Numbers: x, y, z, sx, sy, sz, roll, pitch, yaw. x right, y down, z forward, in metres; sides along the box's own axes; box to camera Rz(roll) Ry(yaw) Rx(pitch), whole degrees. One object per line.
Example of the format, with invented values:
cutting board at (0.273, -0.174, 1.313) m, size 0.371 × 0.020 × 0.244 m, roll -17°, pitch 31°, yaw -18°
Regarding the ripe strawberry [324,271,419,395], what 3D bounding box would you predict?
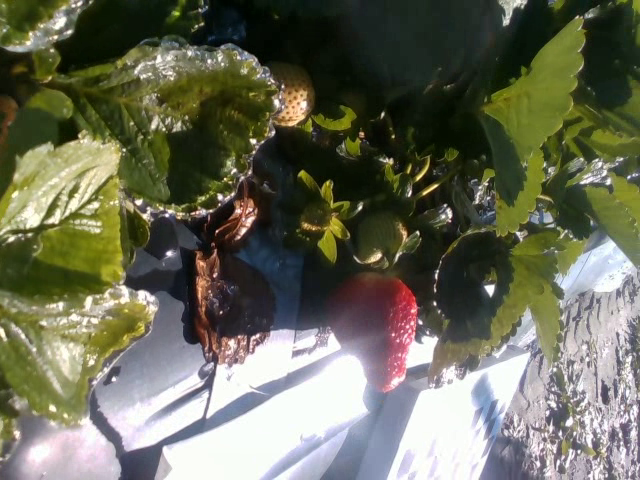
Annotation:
ripe strawberry at (0.034, 0.058, 0.326) m, size 0.057 × 0.065 × 0.062 m, roll -15°, pitch -37°, yaw 7°
